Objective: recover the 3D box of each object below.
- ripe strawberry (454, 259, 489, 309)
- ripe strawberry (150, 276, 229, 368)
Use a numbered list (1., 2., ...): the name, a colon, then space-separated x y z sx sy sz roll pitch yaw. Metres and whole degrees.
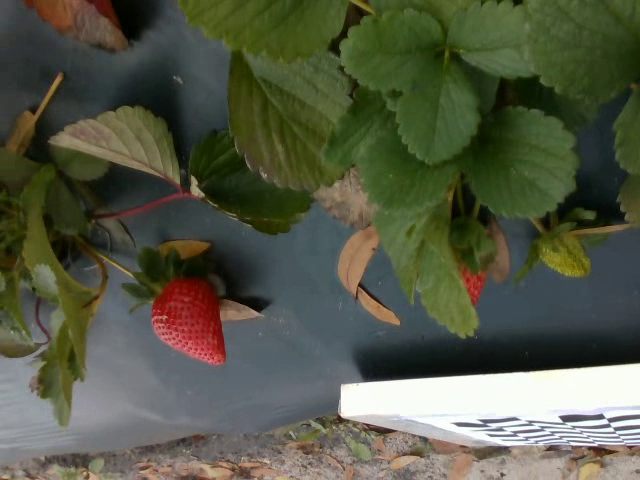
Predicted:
1. ripe strawberry: 0.067 0.028 0.316 0.040 0.042 0.037 -7 19 16
2. ripe strawberry: -0.073 0.054 0.378 0.065 0.043 0.047 47 5 28
